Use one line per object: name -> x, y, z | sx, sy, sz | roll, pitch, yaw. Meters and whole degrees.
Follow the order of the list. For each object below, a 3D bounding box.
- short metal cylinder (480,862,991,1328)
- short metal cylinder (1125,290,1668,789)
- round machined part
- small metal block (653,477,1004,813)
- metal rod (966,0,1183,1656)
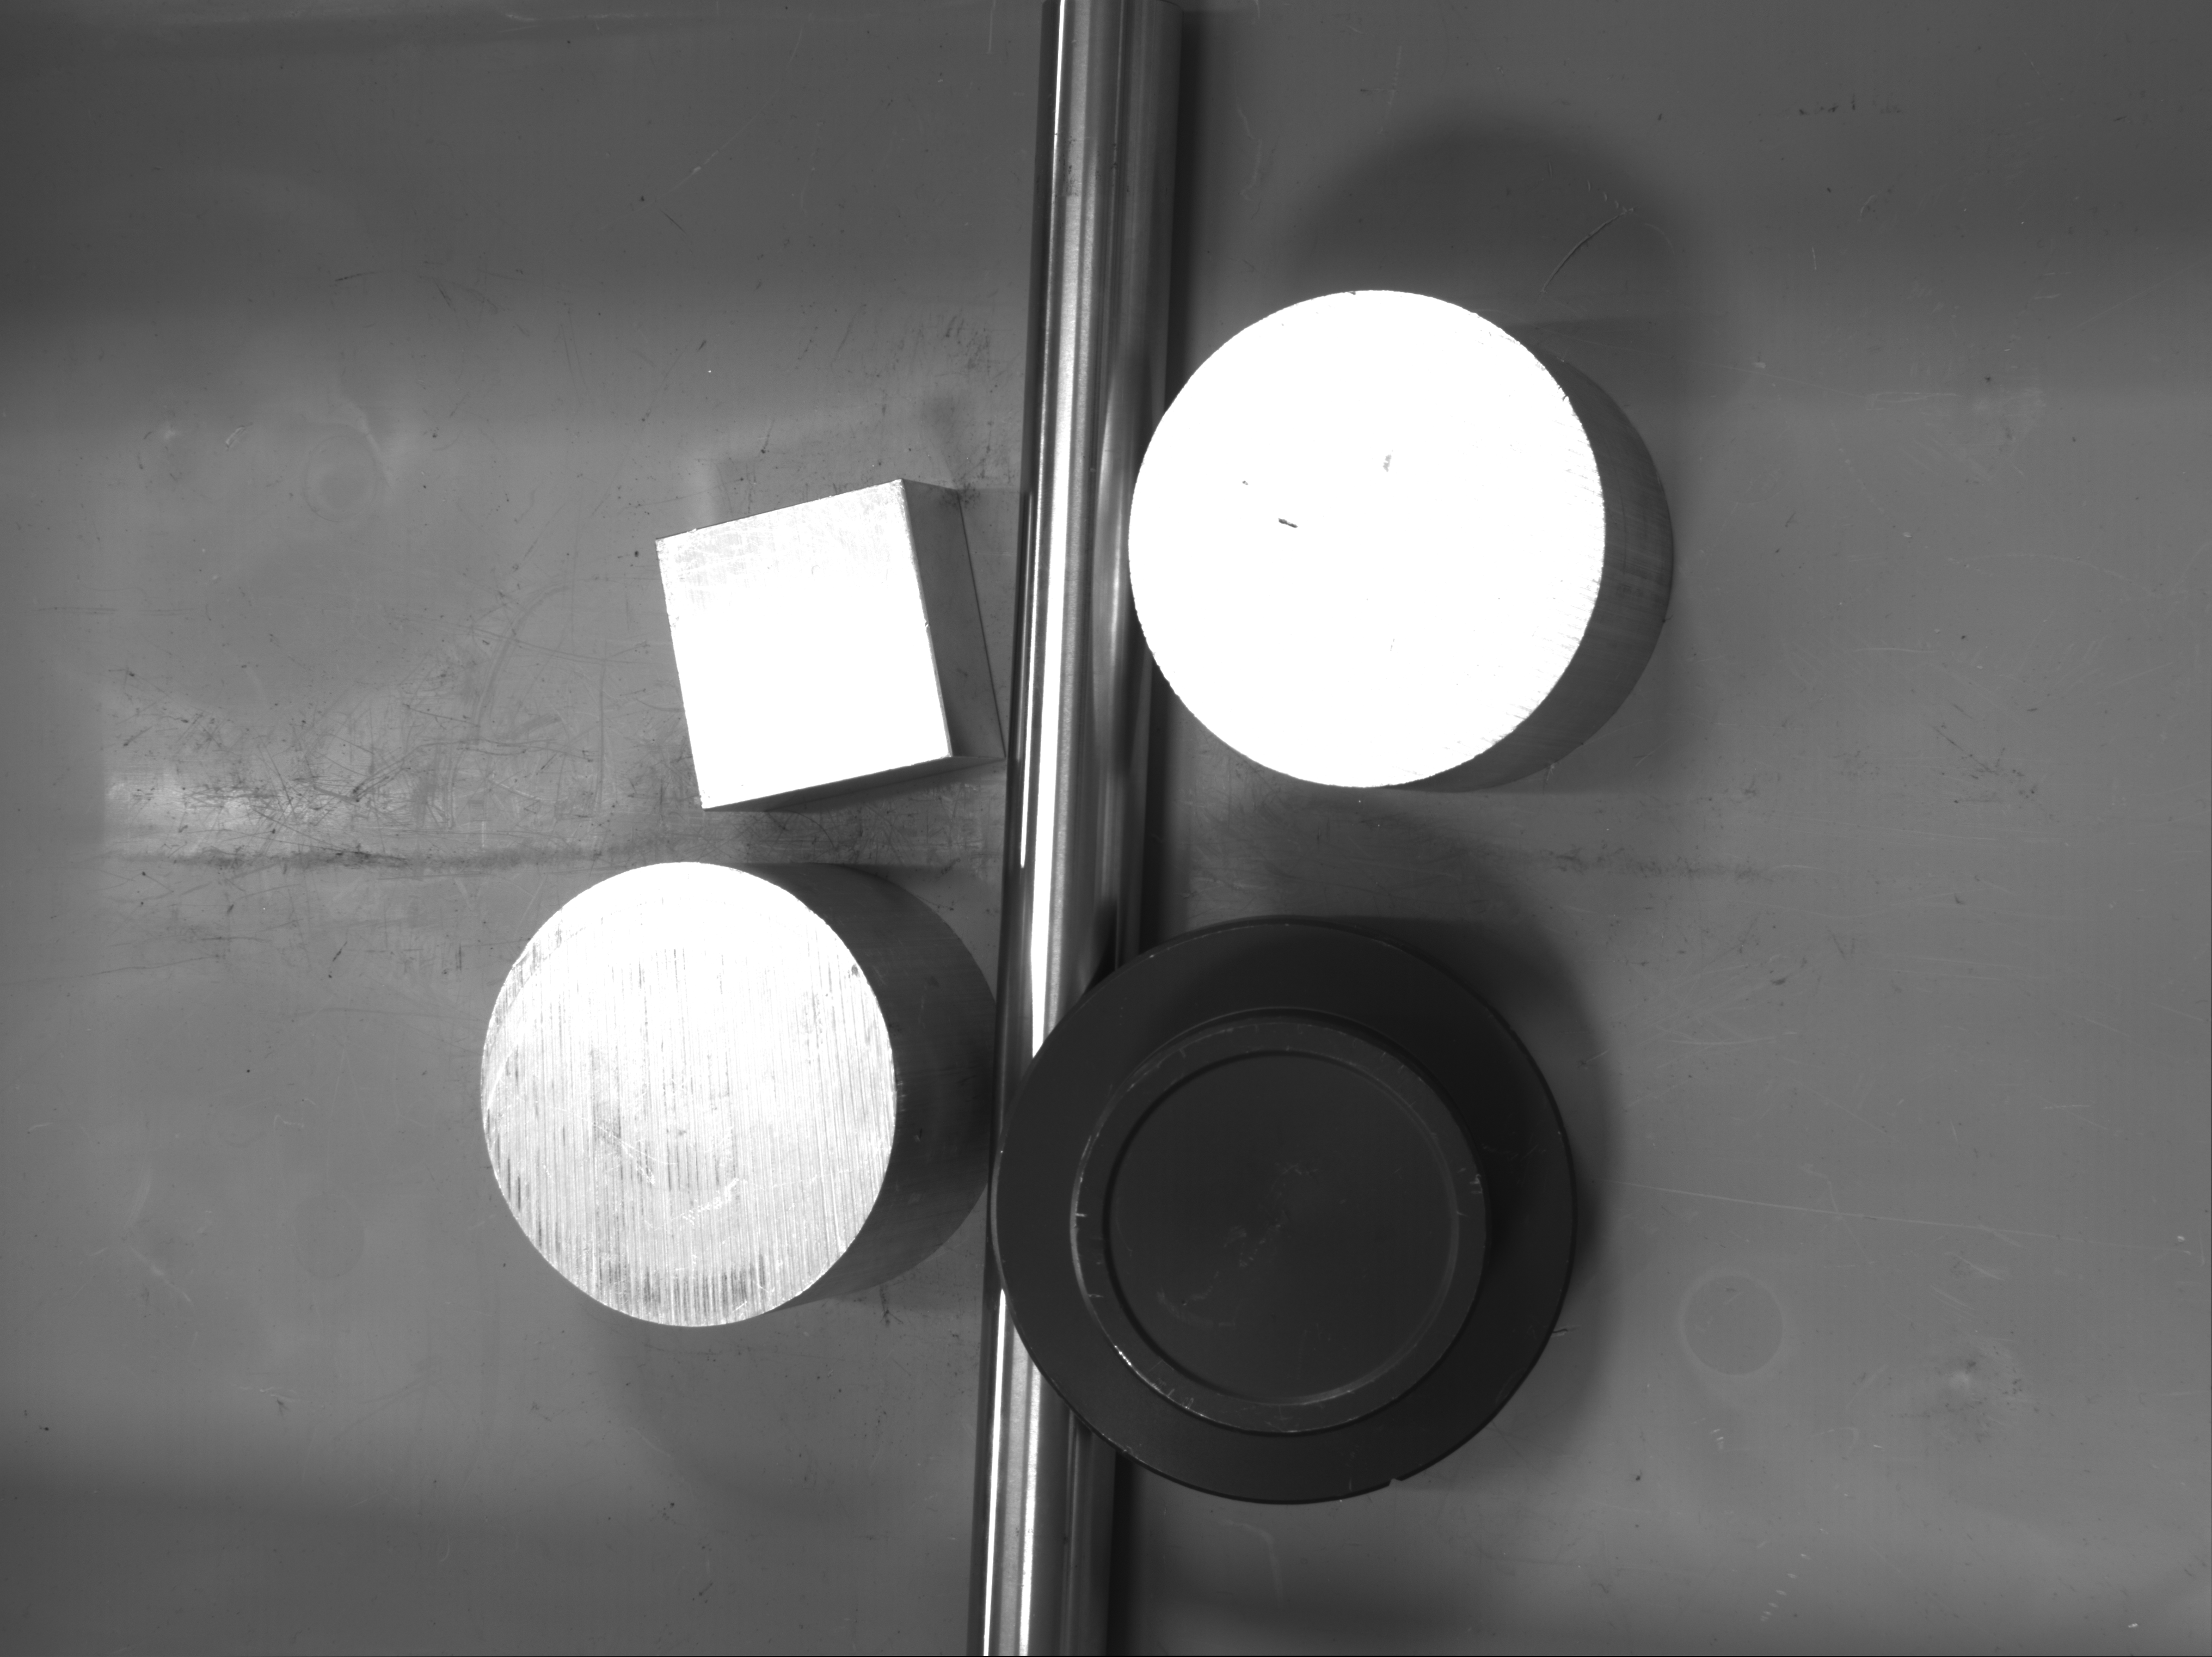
short metal cylinder -> -0.064, 0.046, 0.655 | 0.080, 0.050, 0.080 | 0, 90, 20
short metal cylinder -> 0.049, -0.046, 0.614 | 0.080, 0.050, 0.080 | 0, 90, 20
round machined part -> 0.030, 0.064, 0.612 | 0.098, 0.042, 0.098 | 0, 89, 4
small metal block -> -0.050, -0.032, 0.663 | 0.050, 0.025, 0.050 | -12, 86, 20
metal rod -> -0.006, 0.006, 0.647 | 0.025, 0.025, 0.300 | 3, 91, 20
